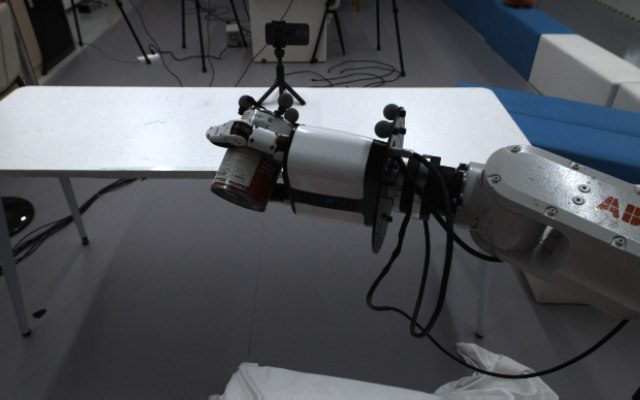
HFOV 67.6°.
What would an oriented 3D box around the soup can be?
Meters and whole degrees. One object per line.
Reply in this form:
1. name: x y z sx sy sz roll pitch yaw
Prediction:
1. soup can: -0.074 -0.046 0.556 0.067 0.067 0.101 16 74 19
